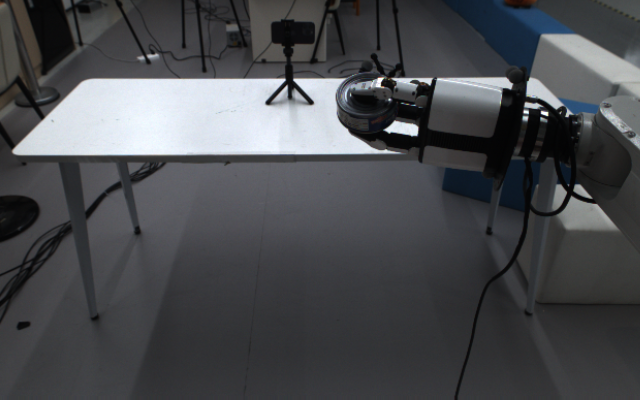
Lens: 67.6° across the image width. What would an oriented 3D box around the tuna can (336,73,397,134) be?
[{"bbox_3d":[0.069,-0.128,0.663,0.085,0.034,0.085,-4,58,6],"label":"tuna can"}]
